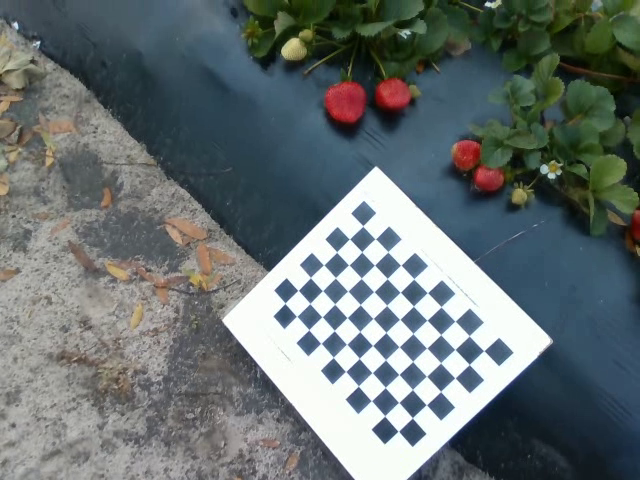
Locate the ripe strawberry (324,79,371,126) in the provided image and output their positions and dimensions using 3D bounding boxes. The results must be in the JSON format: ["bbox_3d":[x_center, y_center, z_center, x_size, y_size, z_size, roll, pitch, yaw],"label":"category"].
[{"bbox_3d":[0.033,-0.172,0.760,0.059,0.065,0.044,-17,-26,19],"label":"ripe strawberry"}]

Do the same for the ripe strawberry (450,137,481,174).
[{"bbox_3d":[0.185,-0.104,0.738,0.053,0.047,0.038,21,8,-16],"label":"ripe strawberry"}]

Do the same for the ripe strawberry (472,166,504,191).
[{"bbox_3d":[0.208,-0.073,0.716,0.044,0.041,0.049,42,35,16],"label":"ripe strawberry"}]

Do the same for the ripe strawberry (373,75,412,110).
[{"bbox_3d":[0.097,-0.185,0.769,0.051,0.051,0.059,-23,31,19],"label":"ripe strawberry"}]
